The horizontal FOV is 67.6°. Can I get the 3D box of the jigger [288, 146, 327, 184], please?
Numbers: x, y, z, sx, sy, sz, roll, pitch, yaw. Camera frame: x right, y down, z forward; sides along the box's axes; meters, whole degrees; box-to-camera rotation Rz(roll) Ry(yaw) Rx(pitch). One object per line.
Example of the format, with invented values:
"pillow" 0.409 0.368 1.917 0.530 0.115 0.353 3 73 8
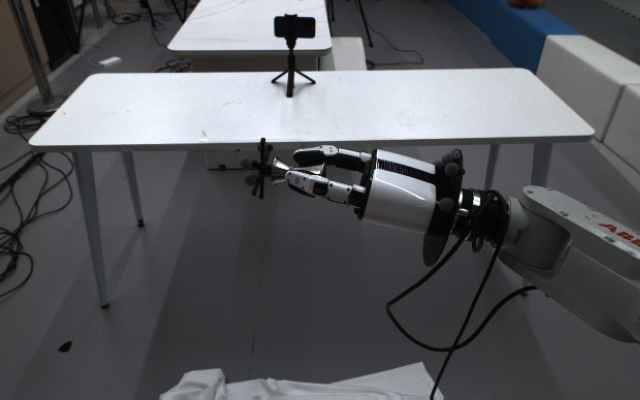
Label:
"jigger" -0.021 -0.040 0.656 0.071 0.043 0.043 7 35 7
